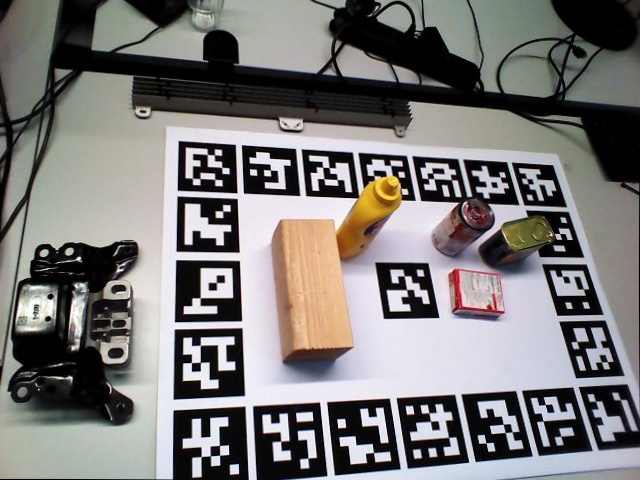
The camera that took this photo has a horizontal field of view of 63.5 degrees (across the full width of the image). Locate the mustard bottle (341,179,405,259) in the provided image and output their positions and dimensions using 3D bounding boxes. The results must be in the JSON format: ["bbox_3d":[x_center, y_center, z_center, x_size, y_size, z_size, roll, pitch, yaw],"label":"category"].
[{"bbox_3d":[0.085,-0.038,0.815,0.096,0.192,0.058,-24,72,-25],"label":"mustard bottle"}]

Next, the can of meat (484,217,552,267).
[{"bbox_3d":[0.358,0.003,0.923,0.101,0.084,0.057,-12,69,-22],"label":"can of meat"}]

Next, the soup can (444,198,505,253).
[{"bbox_3d":[0.266,-0.027,0.892,0.068,0.102,0.067,5,65,-12],"label":"soup can"}]

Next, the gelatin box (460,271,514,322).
[{"bbox_3d":[0.287,0.096,0.885,0.089,0.030,0.073,10,65,-7],"label":"gelatin box"}]

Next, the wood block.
[{"bbox_3d":[-0.011,0.075,0.788,0.091,0.090,0.205,2,60,-15],"label":"wood block"}]
